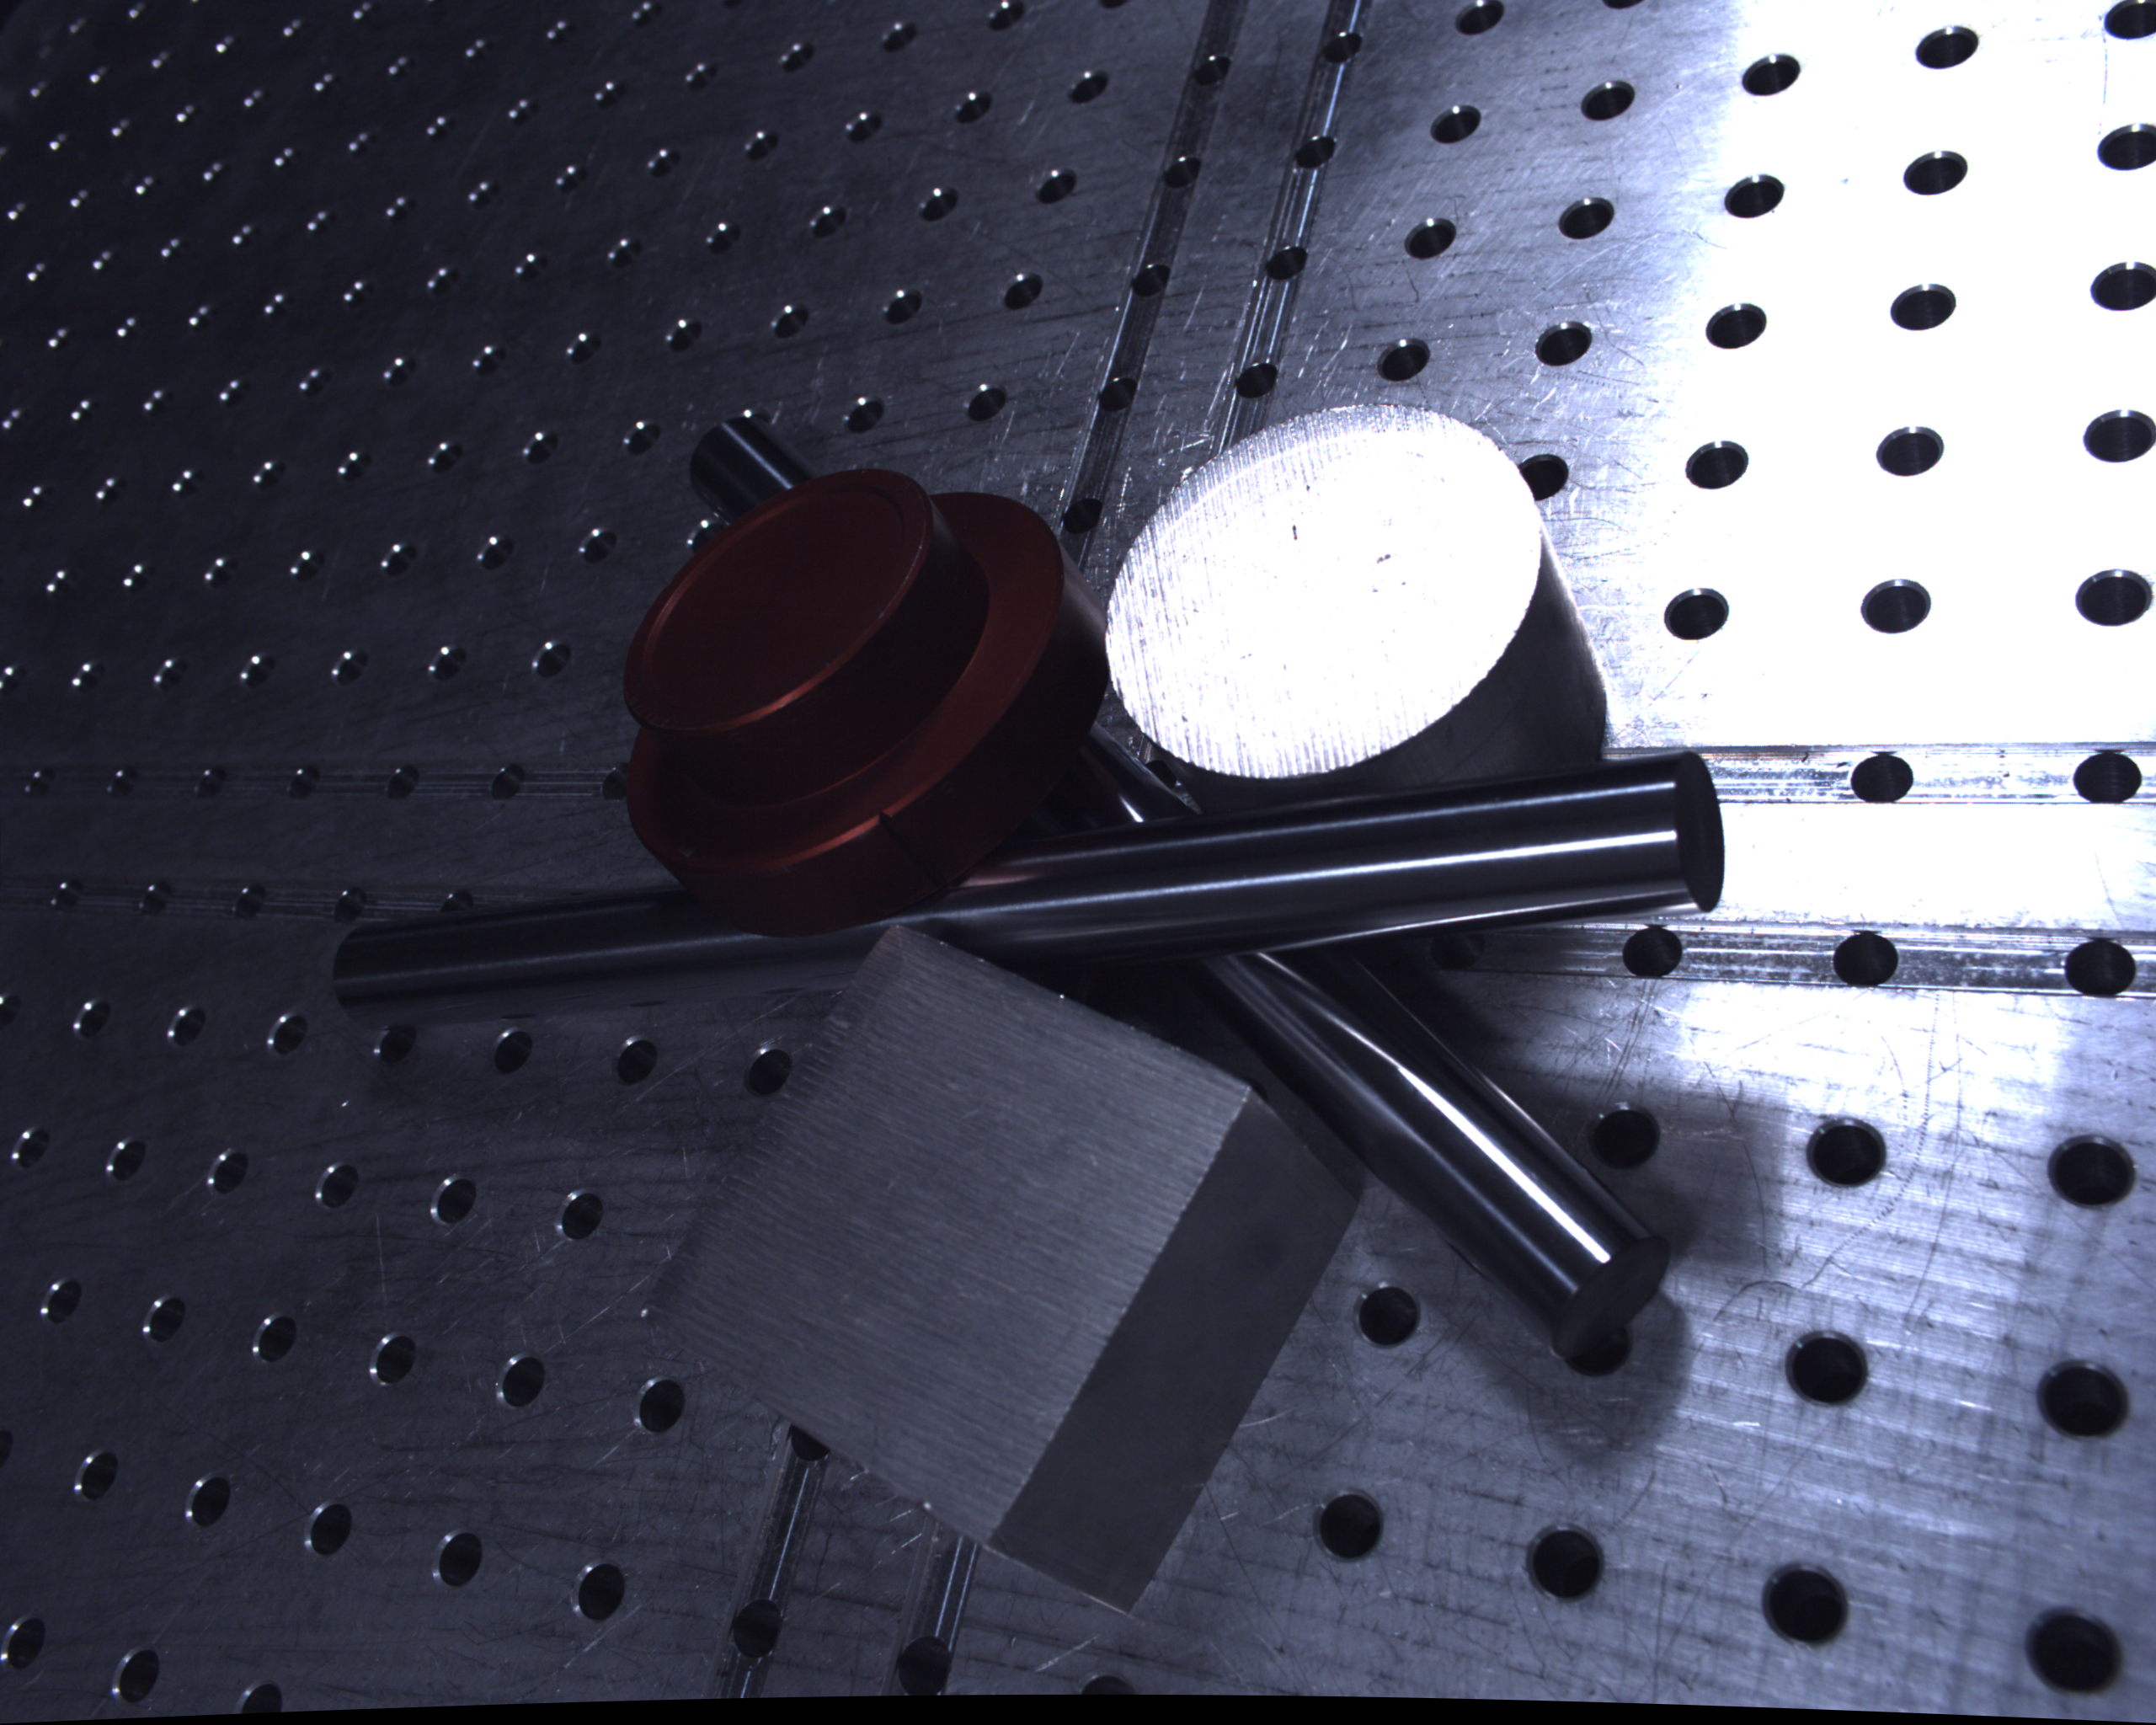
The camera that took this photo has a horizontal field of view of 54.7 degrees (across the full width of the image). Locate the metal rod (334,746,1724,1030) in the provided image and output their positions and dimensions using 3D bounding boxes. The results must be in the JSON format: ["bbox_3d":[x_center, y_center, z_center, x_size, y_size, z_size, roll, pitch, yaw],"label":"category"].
[{"bbox_3d":[-0.033,0.010,0.394,0.300,0.025,0.025,-7,58,32],"label":"metal rod"}]

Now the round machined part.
[{"bbox_3d":[-0.046,-0.036,0.399,0.098,0.042,0.098,-19,44,20],"label":"round machined part"}]

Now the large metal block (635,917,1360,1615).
[{"bbox_3d":[-0.013,0.066,0.354,0.080,0.050,0.080,22,73,35],"label":"large metal block"}]

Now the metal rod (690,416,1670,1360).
[{"bbox_3d":[0.000,-0.015,0.417,0.025,0.025,0.300,-43,51,-2],"label":"metal rod"}]

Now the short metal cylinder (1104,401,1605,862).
[{"bbox_3d":[0.052,-0.038,0.386,0.080,0.050,0.080,-13,56,20],"label":"short metal cylinder"}]
